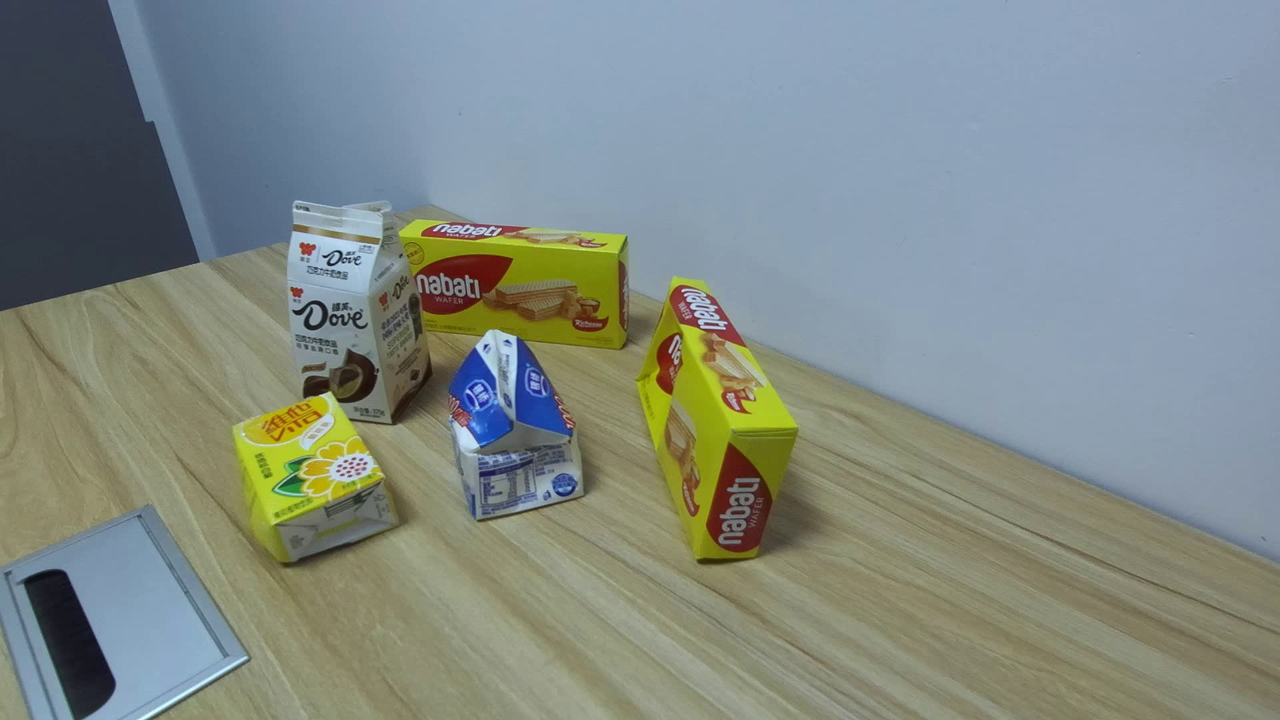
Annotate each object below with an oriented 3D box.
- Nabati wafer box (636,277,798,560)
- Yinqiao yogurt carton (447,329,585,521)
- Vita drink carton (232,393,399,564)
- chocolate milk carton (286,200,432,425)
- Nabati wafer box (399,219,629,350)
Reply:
[{"bbox_3d":[0.041,0.027,0.470,0.042,0.096,0.202,2,30,-13],"label":"Nabati wafer box"},{"bbox_3d":[-0.083,0.035,0.455,0.077,0.093,0.083,-11,33,-18],"label":"Yinqiao yogurt carton"},{"bbox_3d":[-0.205,0.072,0.436,0.077,0.043,0.108,-23,40,-28],"label":"Vita drink carton"},{"bbox_3d":[-0.211,-0.040,0.517,0.084,0.155,0.073,6,32,9],"label":"chocolate milk carton"},{"bbox_3d":[-0.110,-0.067,0.629,0.202,0.093,0.042,6,30,10],"label":"Nabati wafer box"}]
